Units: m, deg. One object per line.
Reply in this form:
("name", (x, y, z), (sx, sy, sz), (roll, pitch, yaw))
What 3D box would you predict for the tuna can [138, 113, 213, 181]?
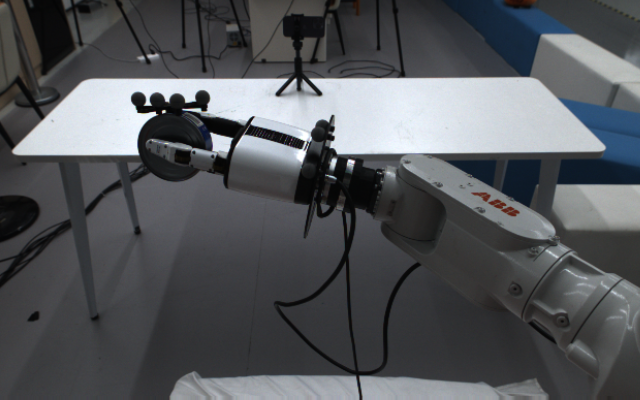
("tuna can", (-0.177, -0.066, 0.608), (0.085, 0.085, 0.034), (4, 17, 2))
